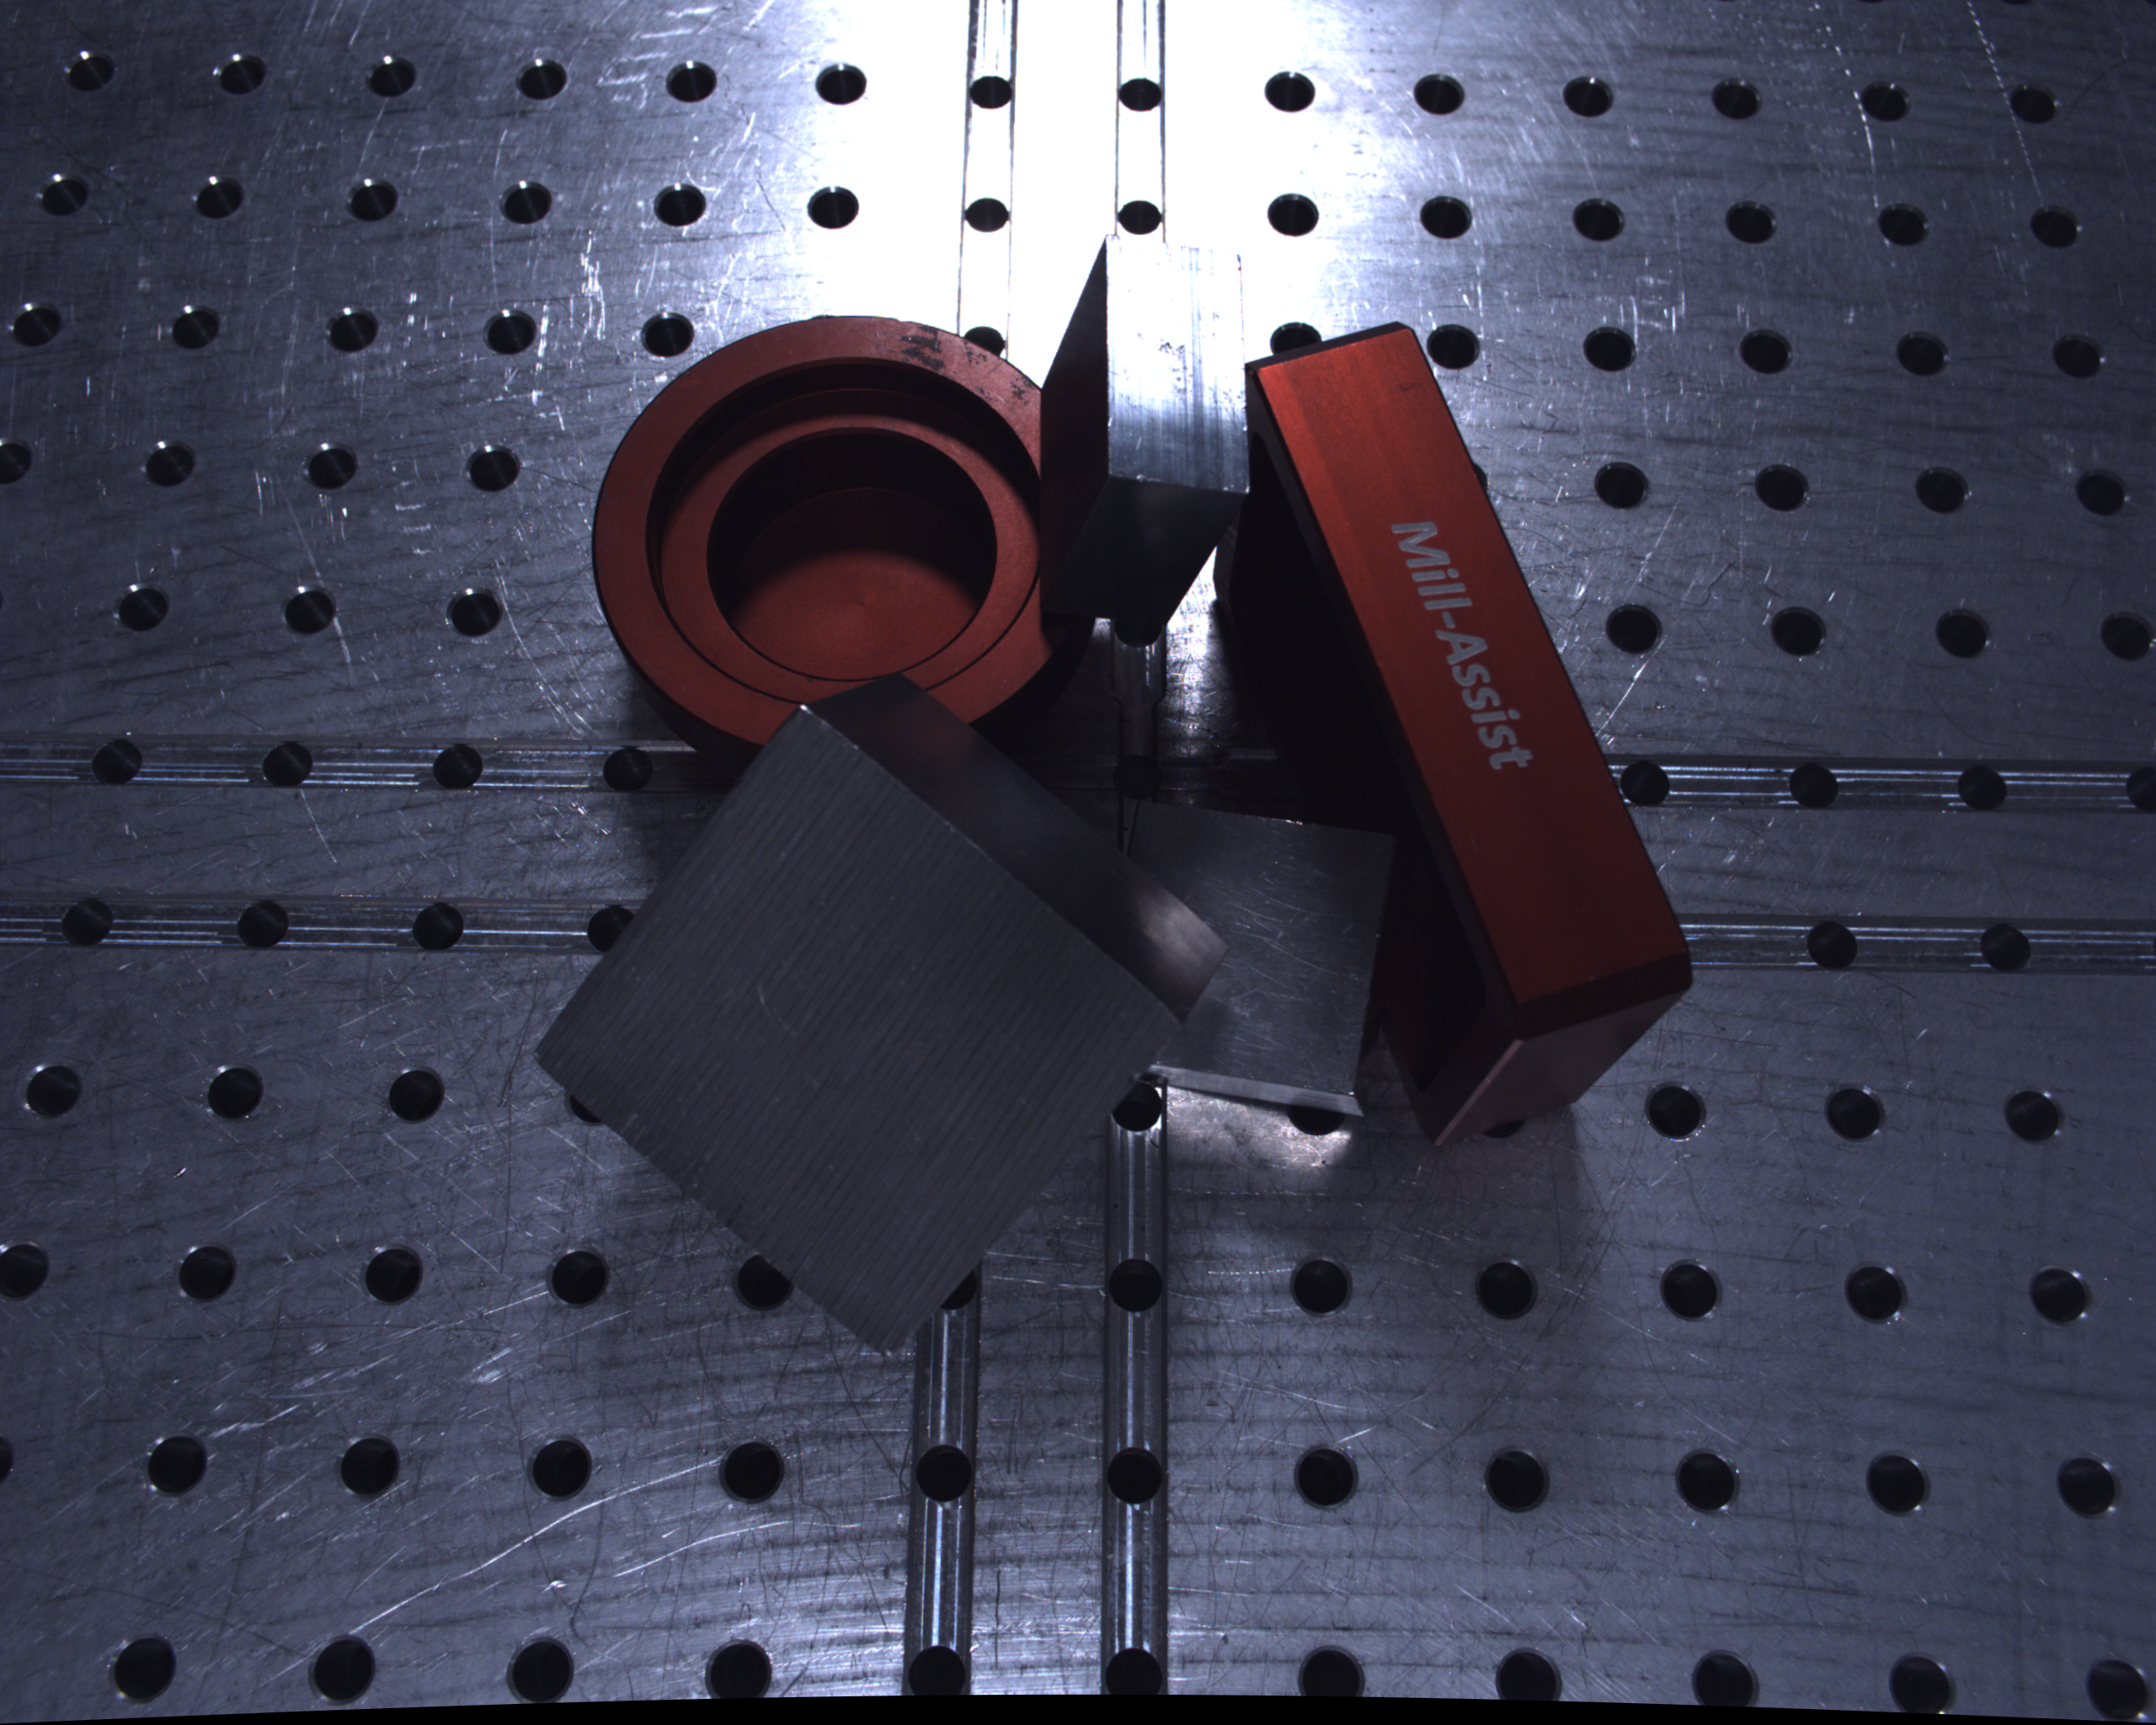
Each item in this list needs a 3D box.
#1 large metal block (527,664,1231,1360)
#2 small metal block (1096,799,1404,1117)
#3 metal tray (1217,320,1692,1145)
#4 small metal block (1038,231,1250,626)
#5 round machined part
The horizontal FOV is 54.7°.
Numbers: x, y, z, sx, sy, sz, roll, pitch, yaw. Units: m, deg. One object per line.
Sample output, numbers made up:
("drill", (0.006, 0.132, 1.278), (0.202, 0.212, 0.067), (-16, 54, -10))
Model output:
("large metal block", (-0.033, 0.024, 0.365), (0.080, 0.050, 0.080), (40, 106, 2))
("small metal block", (0.034, 0.018, 0.400), (0.050, 0.025, 0.050), (8, 74, 14))
("metal tray", (0.063, -0.021, 0.386), (0.030, 0.090, 0.130), (-17, 71, -6))
("small metal block", (0.011, -0.078, 0.384), (0.025, 0.050, 0.050), (5, 68, -13))
("round machined part", (-0.045, -0.058, 0.423), (0.099, 0.042, 0.098), (0, 70, -1))
